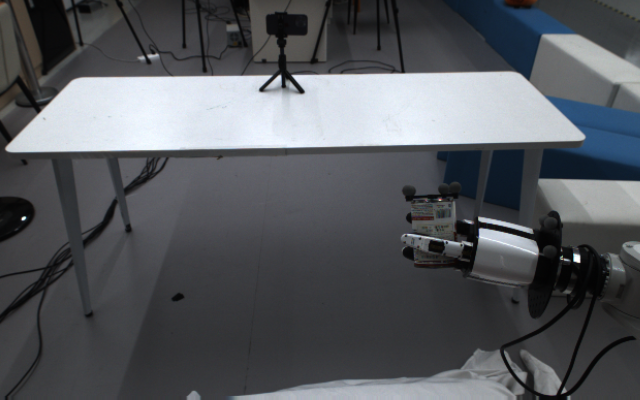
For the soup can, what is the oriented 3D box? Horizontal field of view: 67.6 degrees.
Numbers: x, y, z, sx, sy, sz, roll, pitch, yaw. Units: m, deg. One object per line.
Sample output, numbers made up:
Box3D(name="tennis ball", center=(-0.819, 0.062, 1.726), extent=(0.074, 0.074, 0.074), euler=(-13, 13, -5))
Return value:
Box3D(name="soup can", center=(0.175, 0.049, 0.736), extent=(0.067, 0.101, 0.067), euler=(-3, -1, 0))
